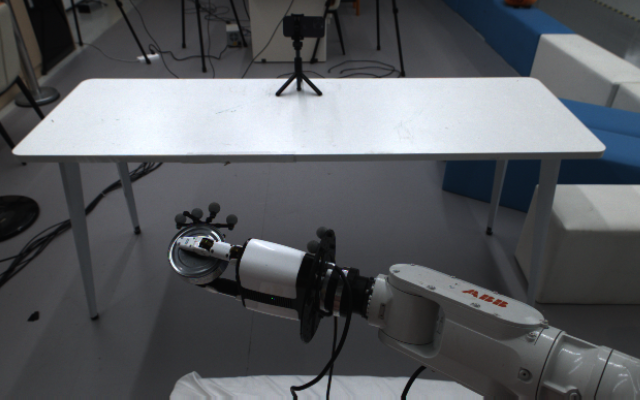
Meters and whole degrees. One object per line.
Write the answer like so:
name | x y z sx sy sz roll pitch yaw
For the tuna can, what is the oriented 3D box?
tuna can | -0.171 0.082 0.710 0.085 0.034 0.085 -1 57 2
